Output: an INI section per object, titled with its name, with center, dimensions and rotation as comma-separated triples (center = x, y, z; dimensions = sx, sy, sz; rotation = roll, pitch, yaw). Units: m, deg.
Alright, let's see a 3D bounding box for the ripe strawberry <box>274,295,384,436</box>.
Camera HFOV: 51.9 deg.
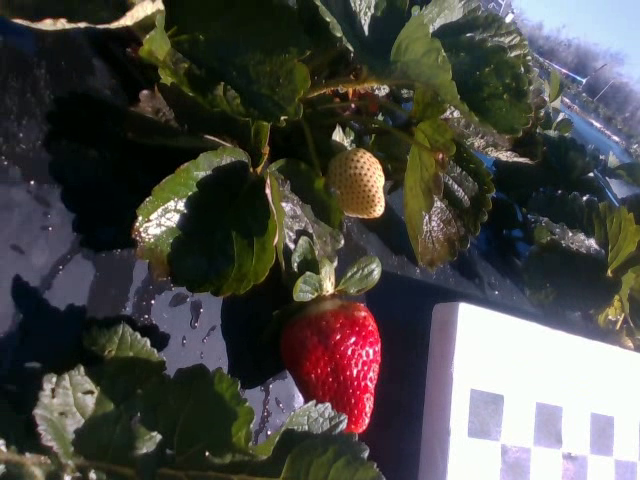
[ripe strawberry]
center = 0.008, 0.057, 0.289
dimensions = 0.048, 0.069, 0.040
rotation = -4, -13, -33
